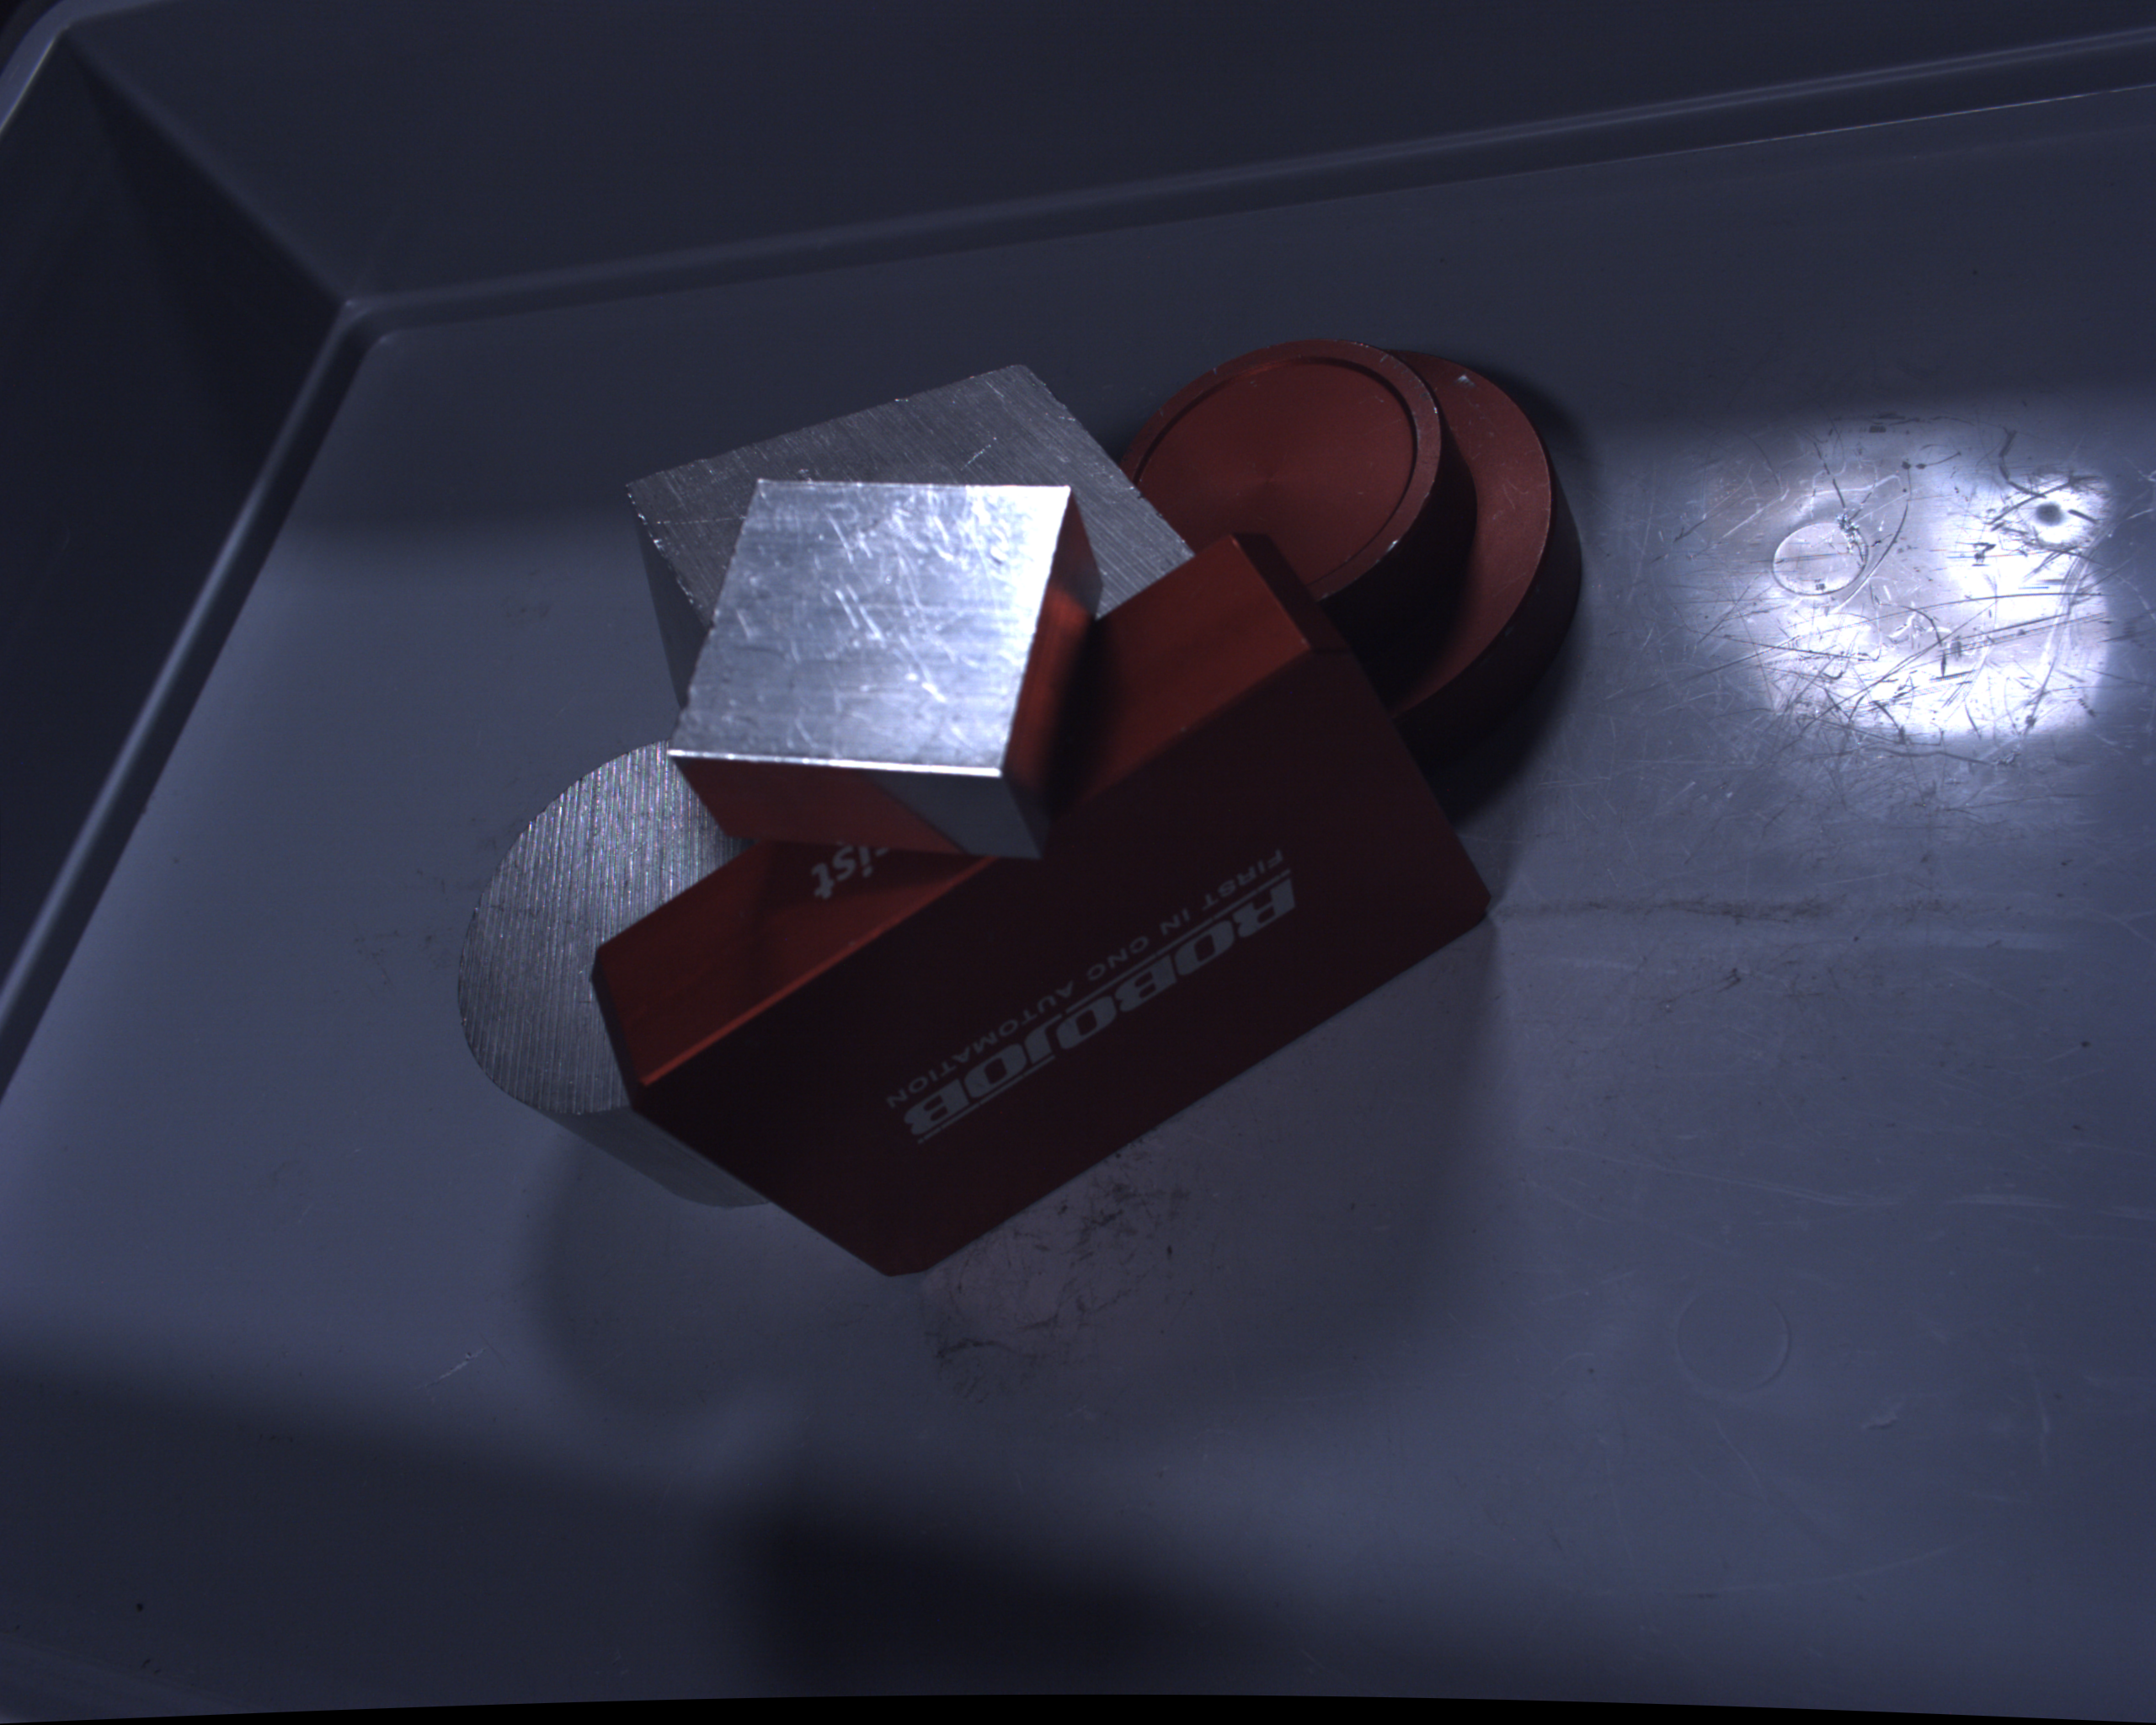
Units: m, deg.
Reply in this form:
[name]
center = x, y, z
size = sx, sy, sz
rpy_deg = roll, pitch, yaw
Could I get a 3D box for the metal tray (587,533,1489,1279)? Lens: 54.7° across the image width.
[metal tray]
center = -0.003, 0.013, 0.354
size = 0.130, 0.090, 0.030
rpy_deg = -33, 51, 6

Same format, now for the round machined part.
[round machined part]
center = 0.044, -0.063, 0.407
size = 0.098, 0.042, 0.098
rpy_deg = -13, 56, 20

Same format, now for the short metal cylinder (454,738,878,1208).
[short metal cylinder]
center = -0.074, 0.022, 0.411
size = 0.080, 0.050, 0.080
rpy_deg = -13, 56, 20

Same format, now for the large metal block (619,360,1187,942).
[large metal block]
center = -0.027, -0.039, 0.379
size = 0.081, 0.050, 0.080
rpy_deg = -22, 49, -16

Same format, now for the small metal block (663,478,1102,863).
[small metal block]
center = -0.028, -0.029, 0.313
size = 0.050, 0.025, 0.050
rpy_deg = 4, 62, 15
